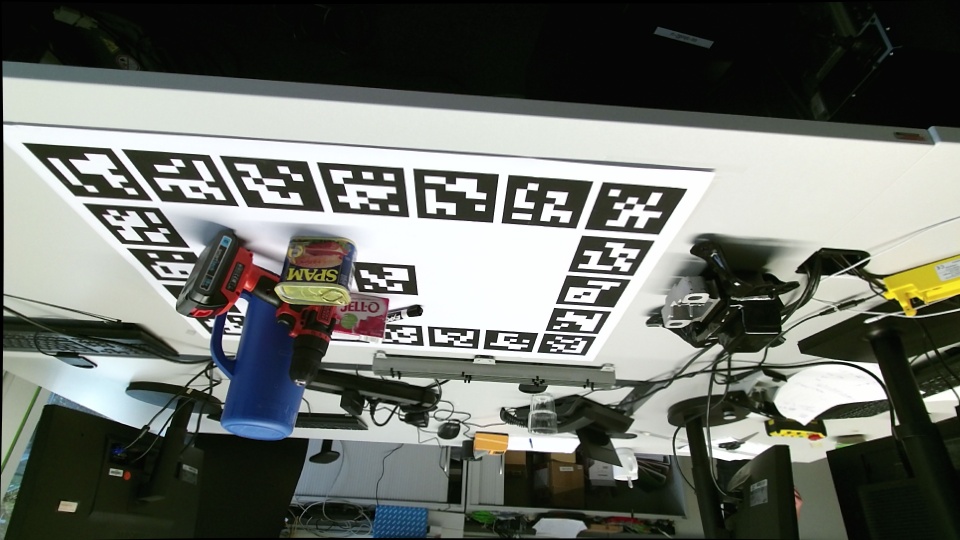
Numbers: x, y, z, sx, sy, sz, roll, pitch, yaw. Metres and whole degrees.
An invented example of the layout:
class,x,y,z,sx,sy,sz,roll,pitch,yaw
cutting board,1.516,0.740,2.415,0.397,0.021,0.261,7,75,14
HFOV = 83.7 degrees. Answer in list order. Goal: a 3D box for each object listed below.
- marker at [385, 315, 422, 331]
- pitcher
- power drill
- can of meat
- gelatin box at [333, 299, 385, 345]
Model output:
class,x,y,z,sx,sy,sz,roll,pitch,yaw
marker,-0.162,0.102,0.985,0.121,0.019,0.020,-13,143,20
pitcher,-0.362,0.147,0.883,0.189,0.241,0.133,17,141,-32
power drill,-0.308,0.074,0.810,0.188,0.183,0.057,30,136,-26
can of meat,-0.235,0.005,0.783,0.102,0.083,0.058,3,149,0
gelatin box,-0.215,0.089,0.925,0.090,0.073,0.030,11,142,-9
